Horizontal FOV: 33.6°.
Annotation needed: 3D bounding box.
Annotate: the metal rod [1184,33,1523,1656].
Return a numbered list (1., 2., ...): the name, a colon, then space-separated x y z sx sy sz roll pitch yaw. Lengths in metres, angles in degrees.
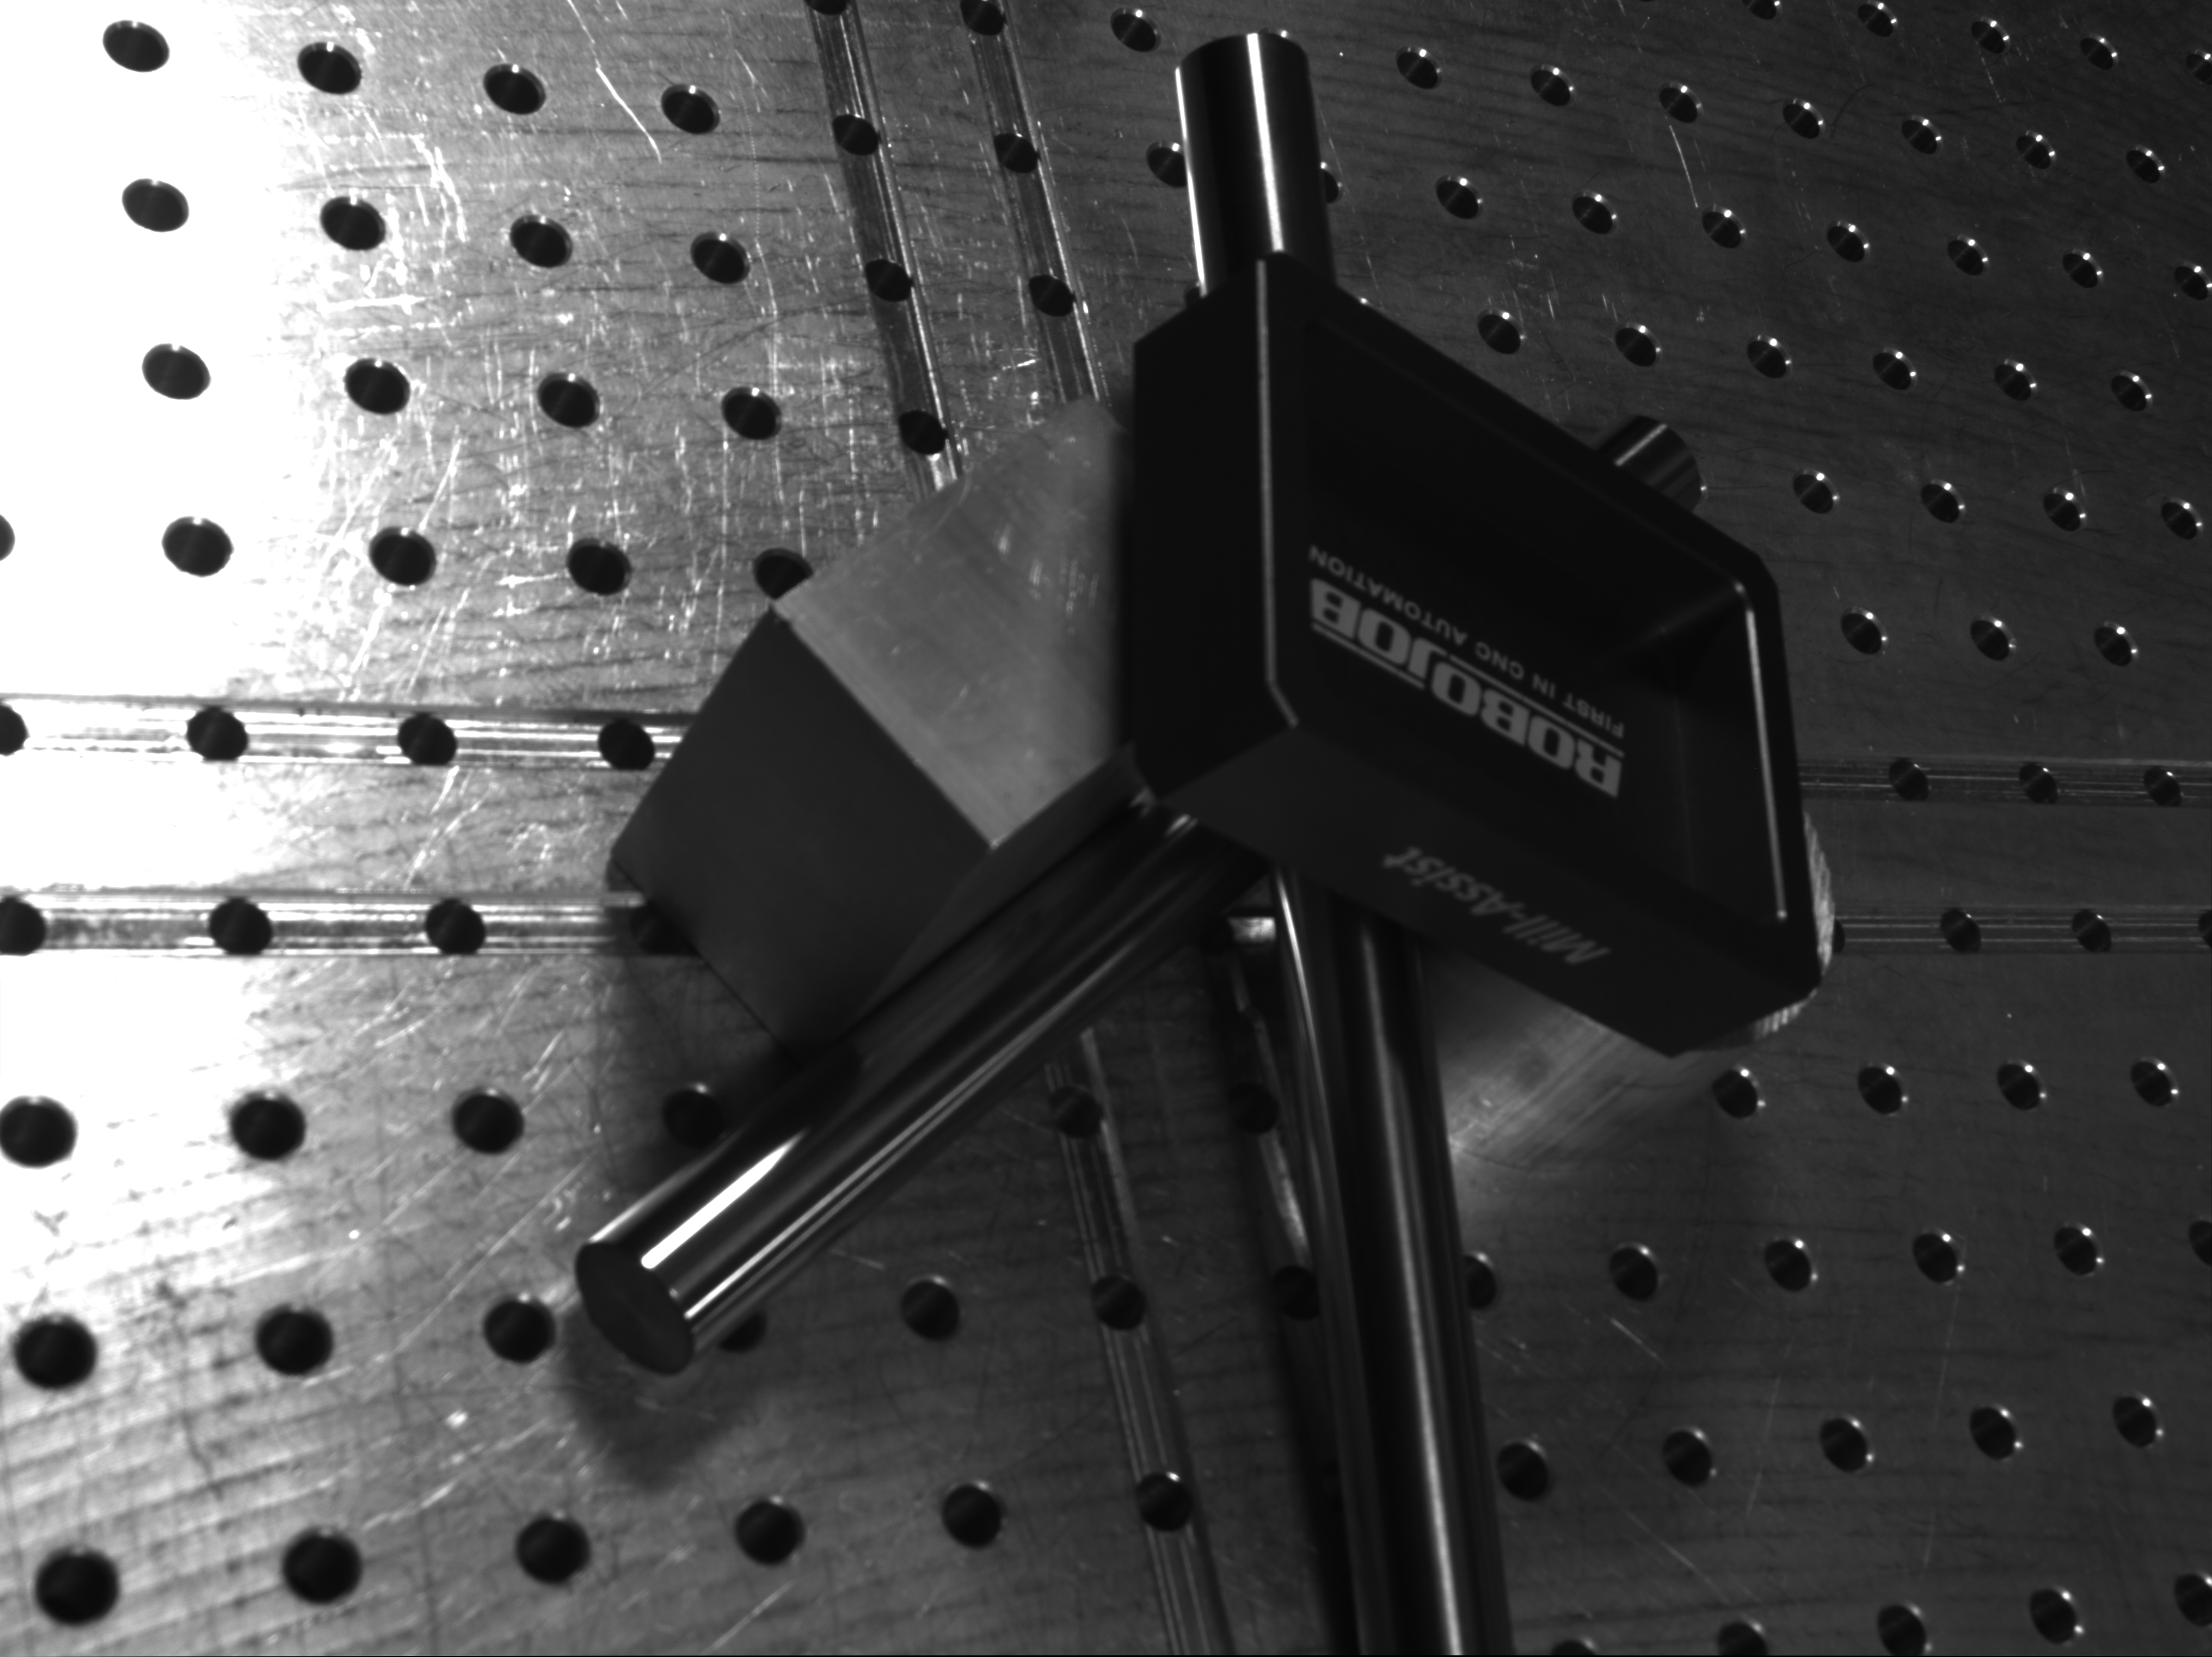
1. metal rod: 0.041 -0.001 0.636 0.025 0.025 0.300 4 69 -26

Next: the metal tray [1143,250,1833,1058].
1. metal tray: 0.063 -0.026 0.599 0.130 0.030 0.090 26 50 -35

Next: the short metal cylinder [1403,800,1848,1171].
1. short metal cylinder: 0.086 0.015 0.662 0.080 0.050 0.080 14 56 -21

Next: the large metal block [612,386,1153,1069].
1. large metal block: -0.025 -0.015 0.603 0.050 0.080 0.080 47 51 5

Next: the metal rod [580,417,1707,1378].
1. metal rod: 0.020 0.001 0.654 0.025 0.025 0.301 47 51 5
